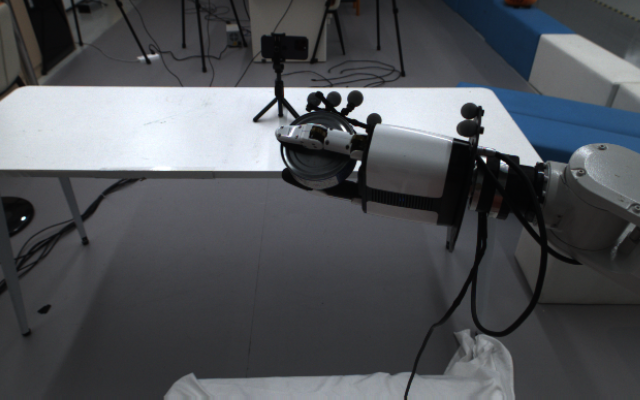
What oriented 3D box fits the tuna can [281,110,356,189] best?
[{"bbox_3d":[0.001,-0.058,0.555,0.085,0.034,0.085,-4,67,10],"label":"tuna can"}]
